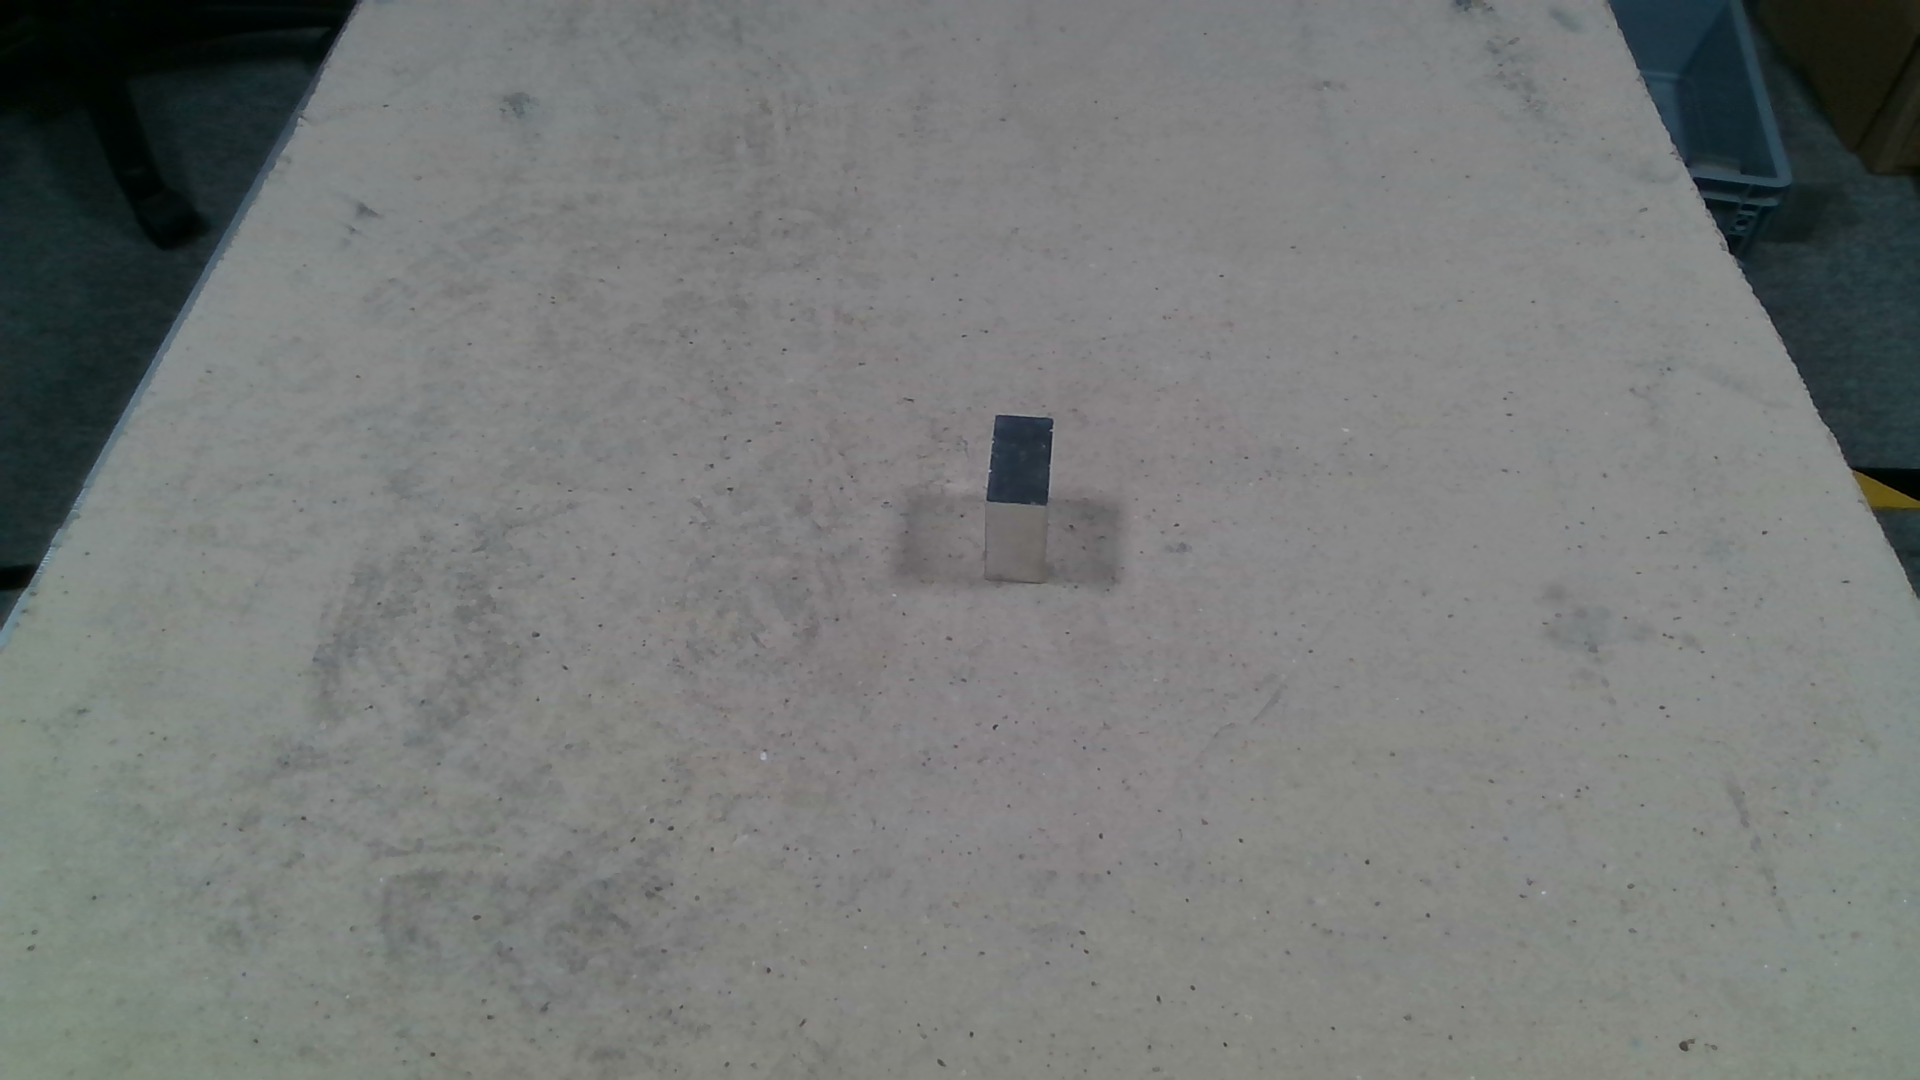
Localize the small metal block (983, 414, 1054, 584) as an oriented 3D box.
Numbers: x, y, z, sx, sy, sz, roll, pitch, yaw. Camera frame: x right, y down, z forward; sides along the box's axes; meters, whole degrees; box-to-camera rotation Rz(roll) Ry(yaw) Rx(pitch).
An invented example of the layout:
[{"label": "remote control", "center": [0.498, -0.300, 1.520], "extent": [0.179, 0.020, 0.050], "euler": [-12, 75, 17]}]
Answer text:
[{"label": "small metal block", "center": [0.025, -0.017, 0.585], "extent": [0.025, 0.050, 0.050], "euler": [4, 50, 3]}]
